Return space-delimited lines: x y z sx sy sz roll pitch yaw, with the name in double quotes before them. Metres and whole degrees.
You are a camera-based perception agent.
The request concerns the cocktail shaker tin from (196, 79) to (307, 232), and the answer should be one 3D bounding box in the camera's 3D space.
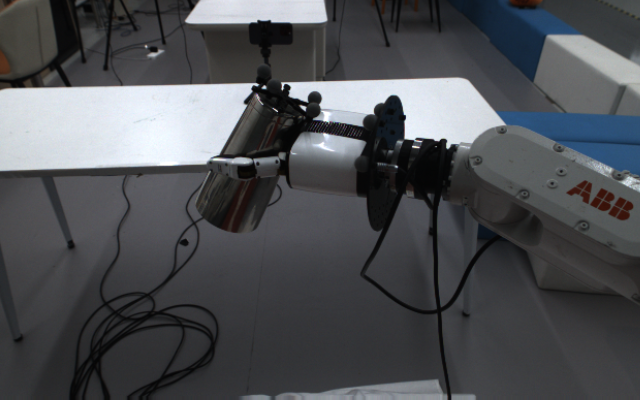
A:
"cocktail shaker tin" -0.085 -0.054 0.620 0.093 0.170 0.093 25 29 -15
